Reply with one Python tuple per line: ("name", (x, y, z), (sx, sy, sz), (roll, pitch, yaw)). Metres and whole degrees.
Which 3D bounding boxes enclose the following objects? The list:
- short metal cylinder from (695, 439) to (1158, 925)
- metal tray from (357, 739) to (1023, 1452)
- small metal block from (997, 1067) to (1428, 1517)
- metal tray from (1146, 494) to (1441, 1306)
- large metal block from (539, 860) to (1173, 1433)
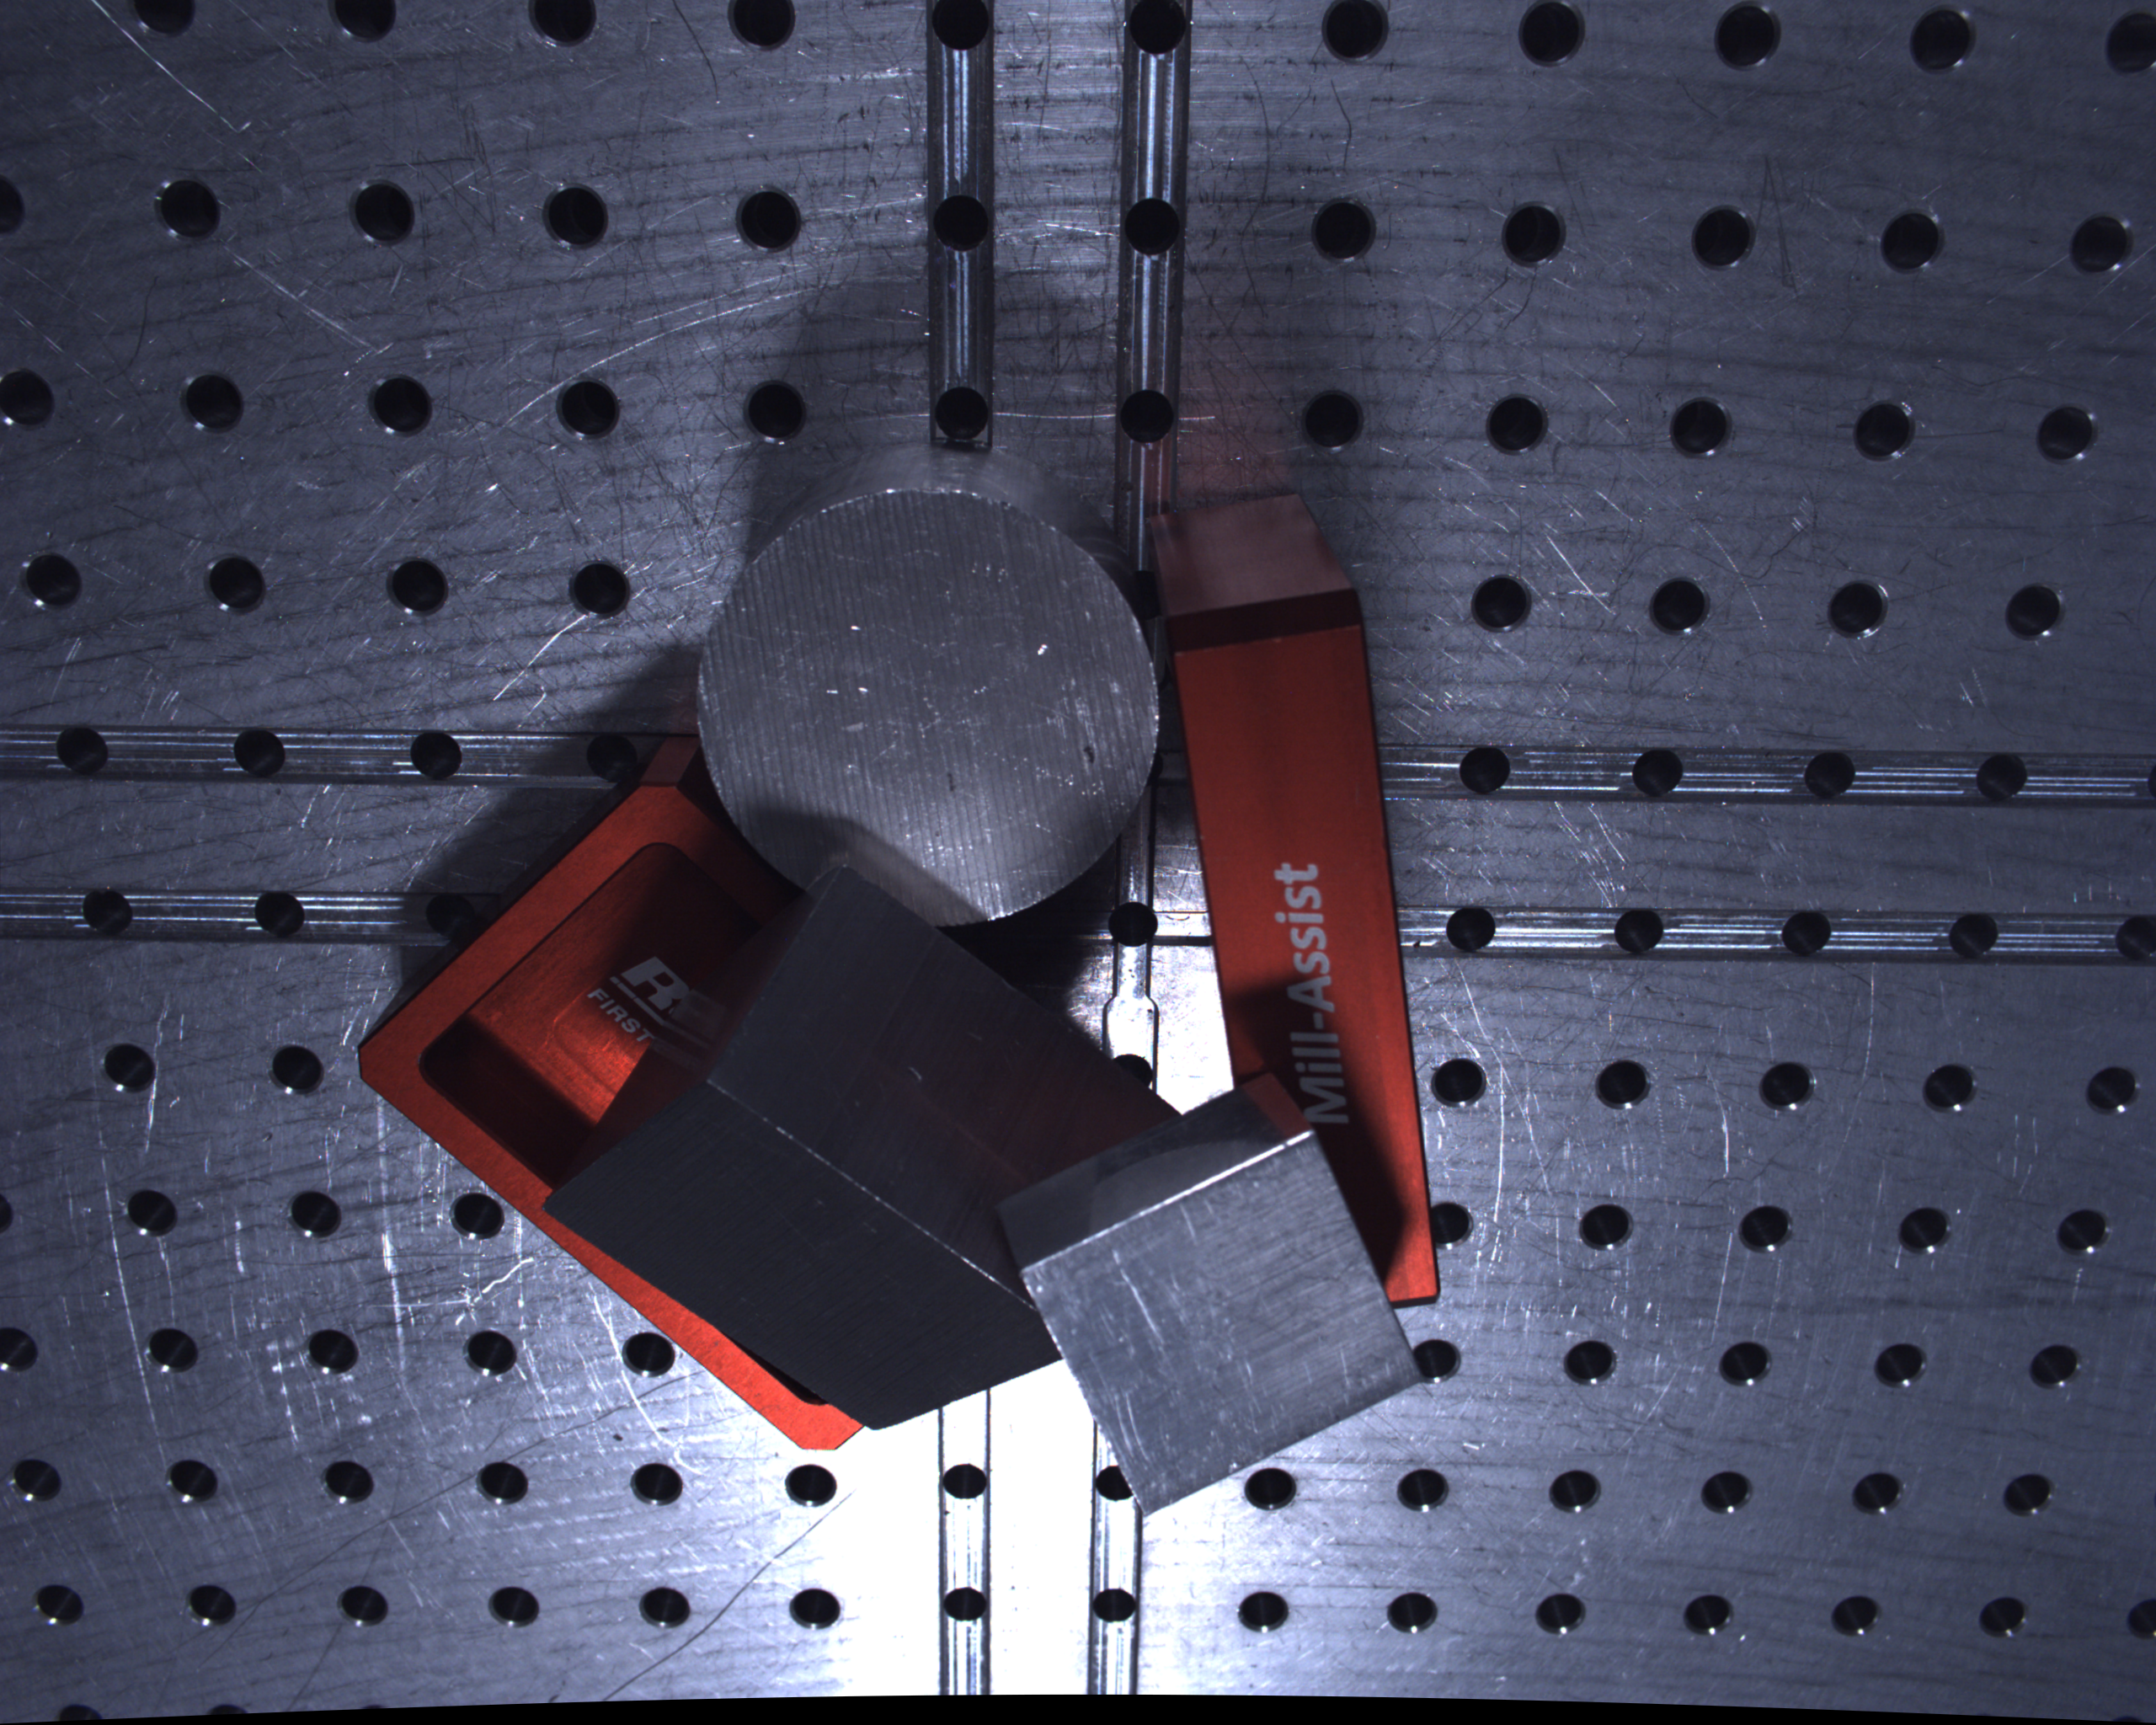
("short metal cylinder", (-0.026, -0.035, 0.387), (0.081, 0.050, 0.079), (0, 110, -1))
("metal tray", (-0.066, 0.050, 0.427), (0.090, 0.030, 0.130), (-41, 106, 13))
("small metal block", (0.022, 0.069, 0.339), (0.050, 0.025, 0.050), (-26, 109, -3))
("metal tray", (0.038, 0.006, 0.381), (0.030, 0.090, 0.129), (-9, 110, 3))
("large metal block", (-0.040, 0.056, 0.387), (0.080, 0.050, 0.080), (38, 141, -14))
